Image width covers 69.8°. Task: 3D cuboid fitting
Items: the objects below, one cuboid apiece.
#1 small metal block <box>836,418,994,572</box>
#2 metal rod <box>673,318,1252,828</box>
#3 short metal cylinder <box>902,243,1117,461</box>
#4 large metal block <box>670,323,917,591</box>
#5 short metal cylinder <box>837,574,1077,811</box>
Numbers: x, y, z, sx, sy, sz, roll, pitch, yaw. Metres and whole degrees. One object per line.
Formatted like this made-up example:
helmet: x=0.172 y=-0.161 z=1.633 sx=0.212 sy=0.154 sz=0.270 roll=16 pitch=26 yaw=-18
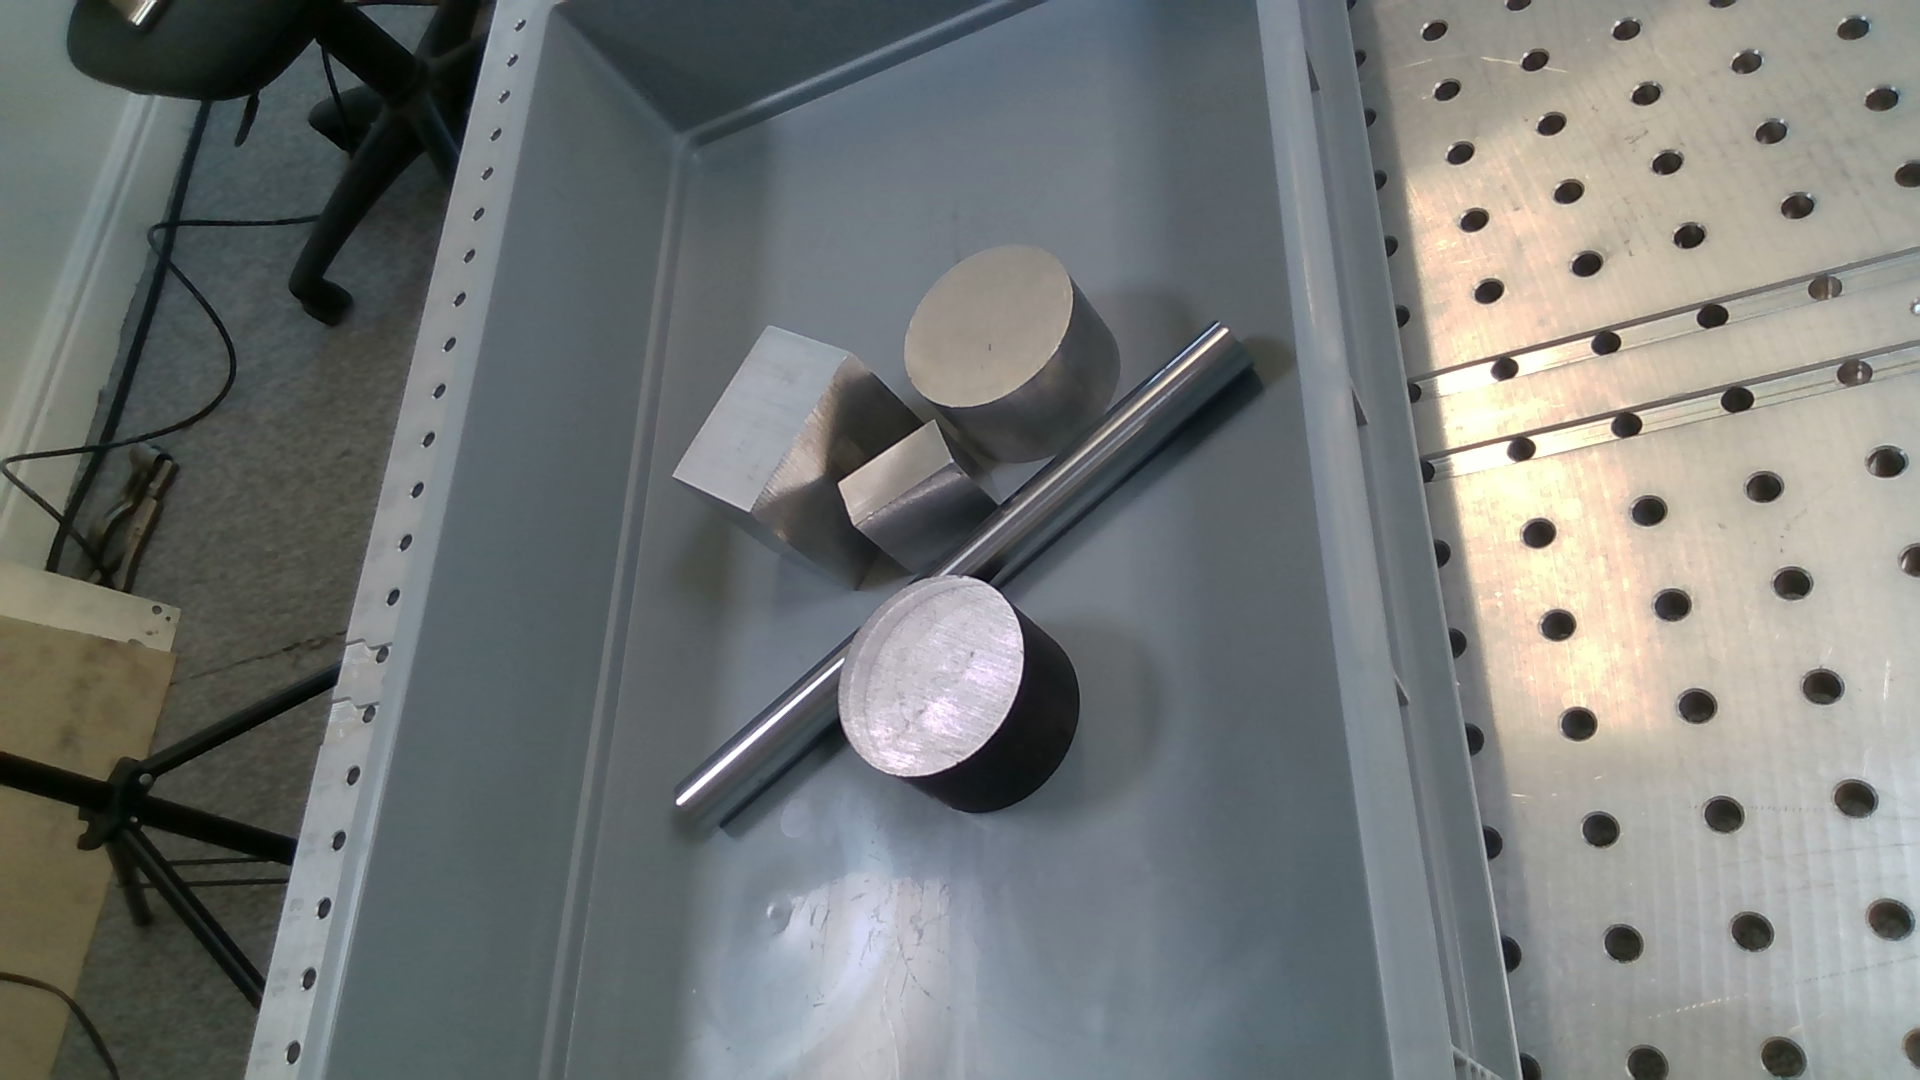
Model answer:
small metal block: x=-0.016 y=-0.018 z=0.587 sx=0.050 sy=0.050 sz=0.025 roll=-33 pitch=53 yaw=13
metal rod: x=-0.002 y=0.017 z=0.577 sx=0.300 sy=0.025 sz=0.025 roll=-41 pitch=51 yaw=7
short metal cylinder: x=0.022 y=-0.081 z=0.597 sx=0.080 sy=0.050 sz=0.080 roll=-14 pitch=59 yaw=25
large metal block: x=-0.066 y=-0.036 z=0.608 sx=0.050 sy=0.080 sz=0.080 roll=23 pitch=78 yaw=38
short metal cylinder: x=-0.001 y=0.060 z=0.537 sx=0.080 sy=0.050 sz=0.080 roll=-14 pitch=59 yaw=25
